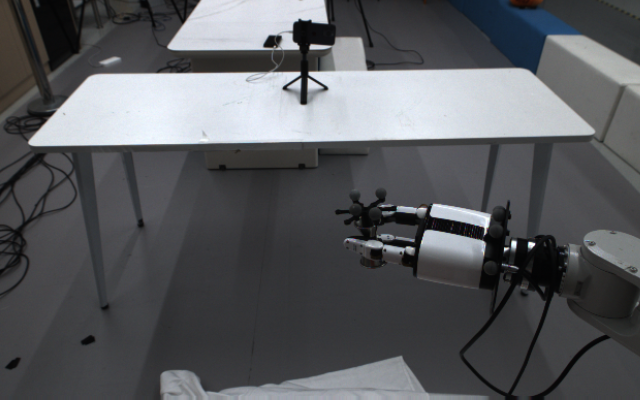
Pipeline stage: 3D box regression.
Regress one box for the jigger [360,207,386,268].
[{"bbox_3d":[0.076,0.058,0.717,0.043,0.071,0.043,-11,23,5],"label":"jigger"}]
